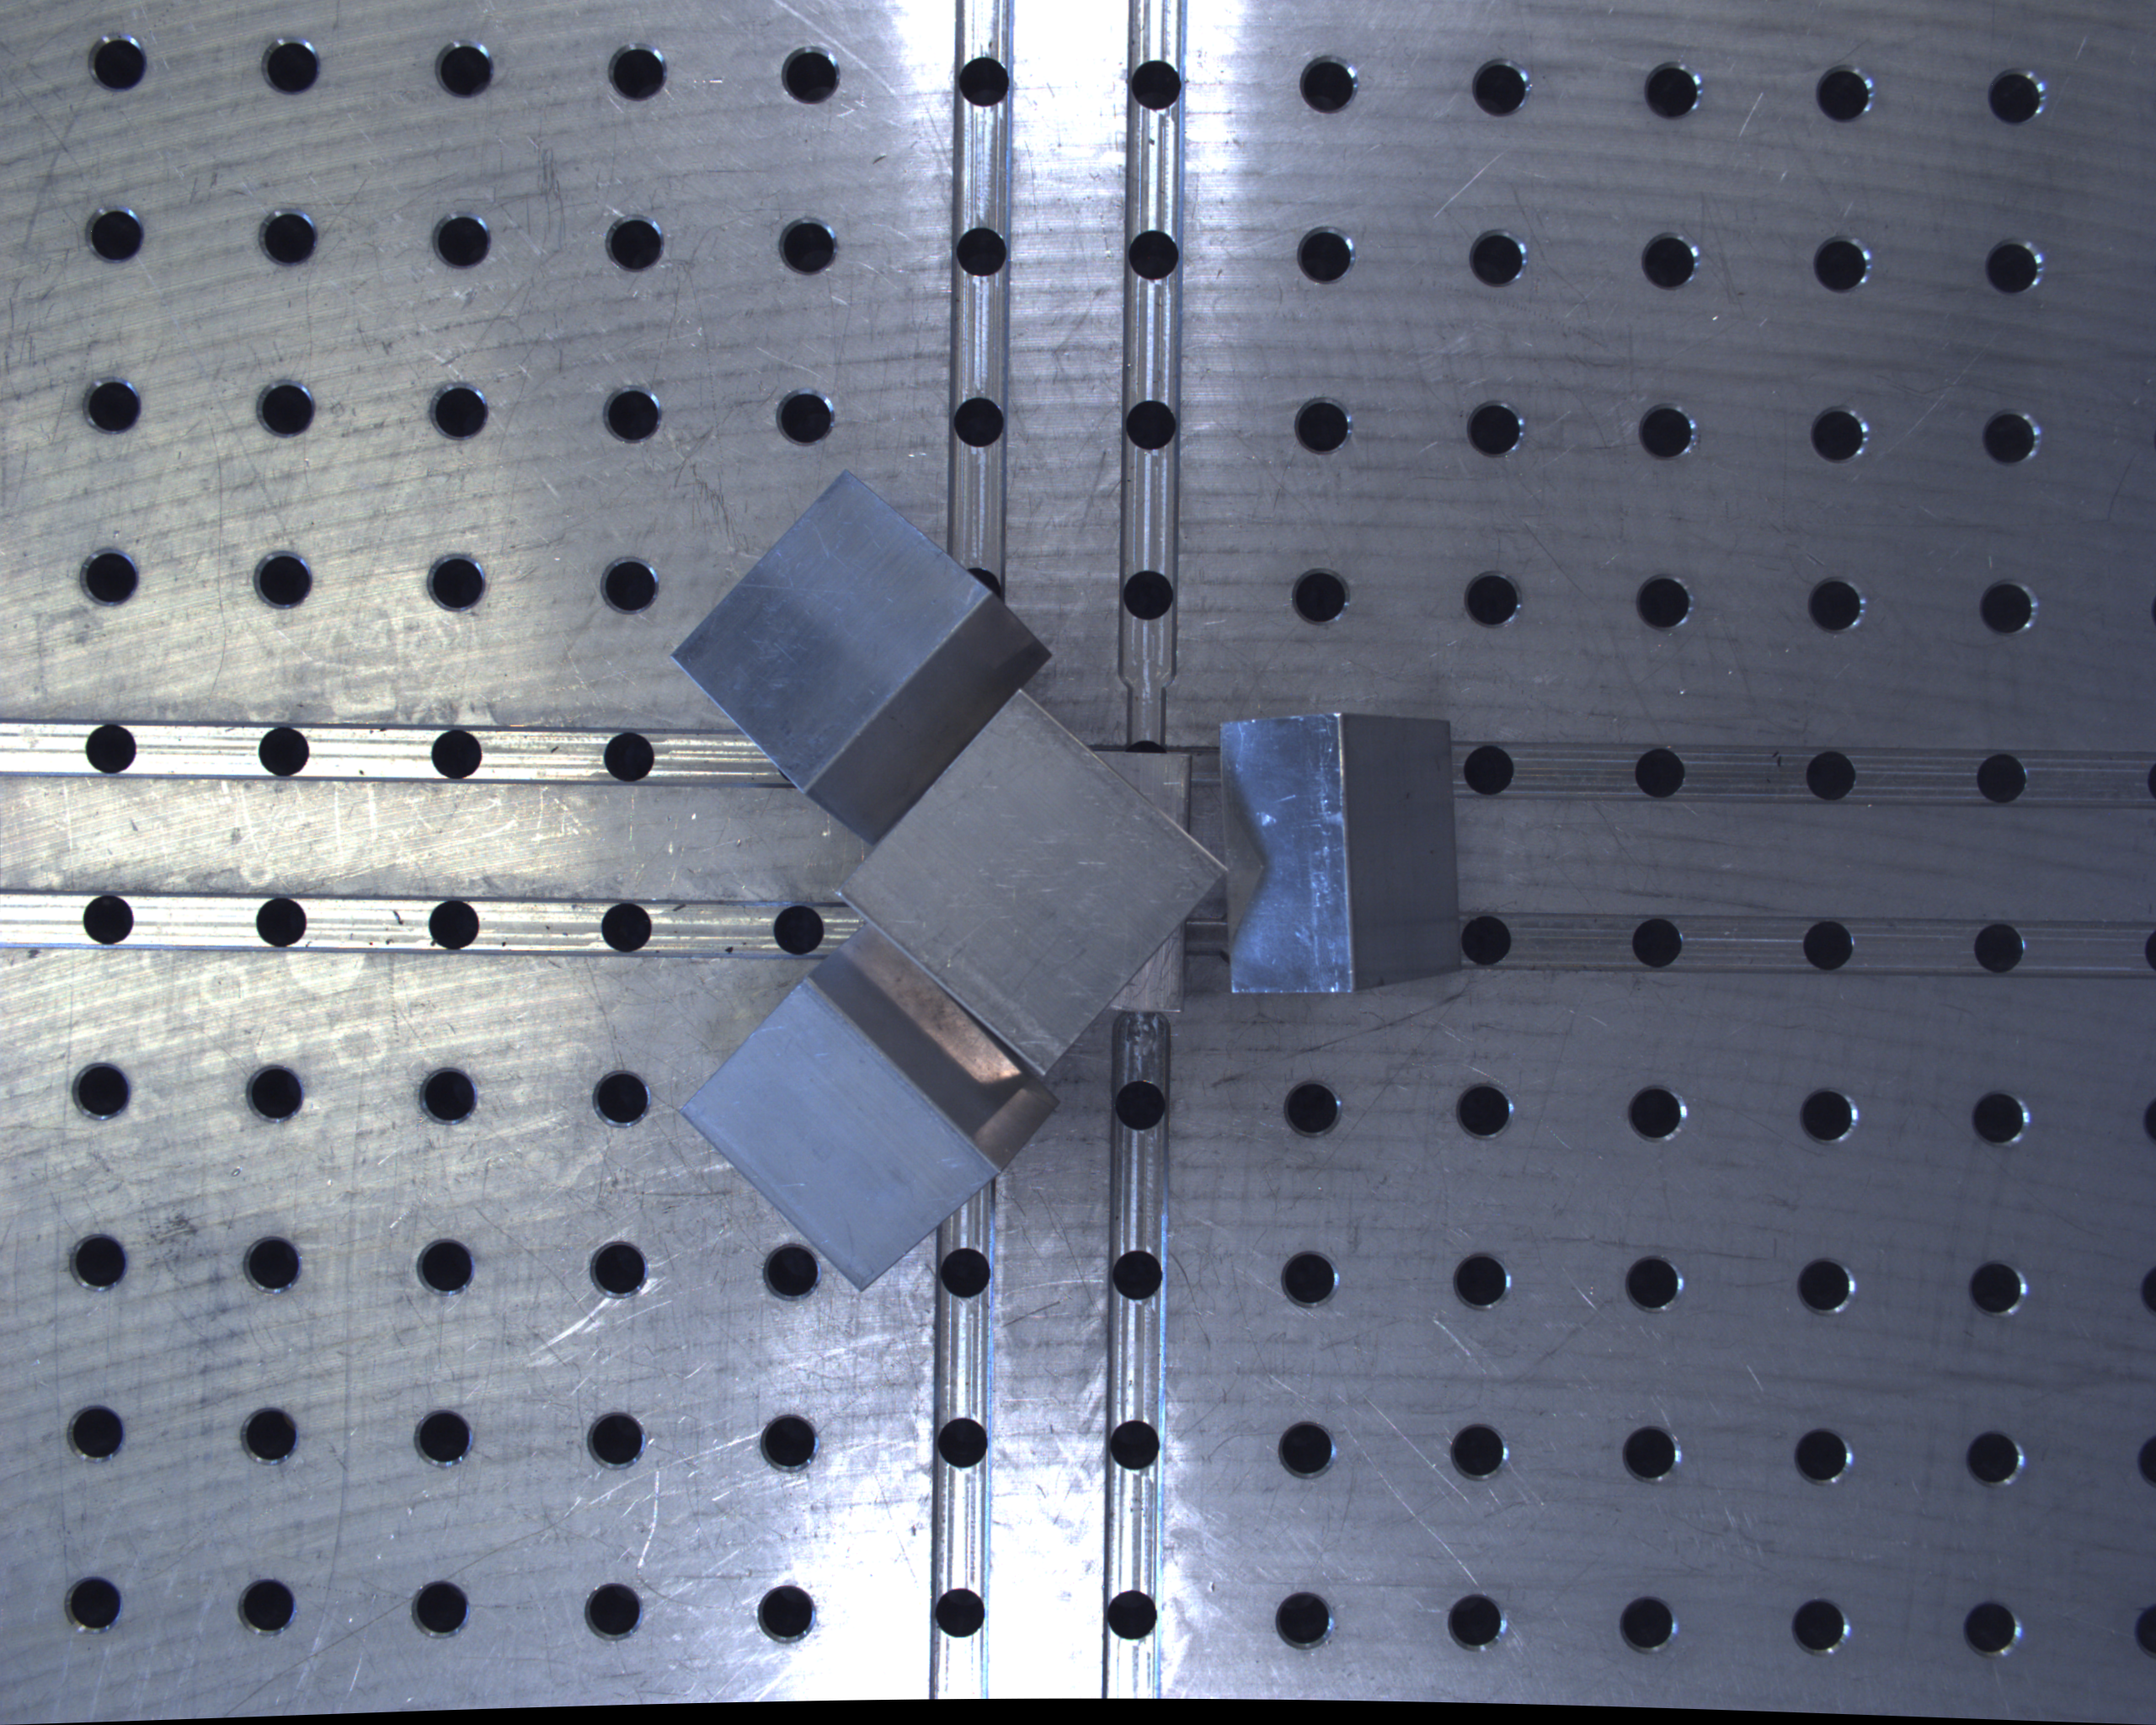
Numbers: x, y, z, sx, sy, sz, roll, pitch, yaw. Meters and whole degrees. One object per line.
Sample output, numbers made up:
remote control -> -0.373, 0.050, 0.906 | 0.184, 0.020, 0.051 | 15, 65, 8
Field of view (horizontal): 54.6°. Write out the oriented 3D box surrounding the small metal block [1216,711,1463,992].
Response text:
small metal block -> 0.051, -0.002, 0.398 | 0.025, 0.050, 0.050 | -3, 90, 33

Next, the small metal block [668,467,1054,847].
small metal block -> -0.042, -0.040, 0.401 | 0.050, 0.025, 0.050 | -47, 54, 0

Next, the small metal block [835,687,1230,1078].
small metal block -> -0.008, 0.004, 0.388 | 0.050, 0.025, 0.050 | 41, 89, -1

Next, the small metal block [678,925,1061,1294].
small metal block -> -0.040, 0.047, 0.400 | 0.050, 0.025, 0.050 | 45, 127, 0

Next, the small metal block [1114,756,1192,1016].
small metal block -> -0.004, 0.003, 0.413 | 0.050, 0.025, 0.050 | 2, 93, 0
